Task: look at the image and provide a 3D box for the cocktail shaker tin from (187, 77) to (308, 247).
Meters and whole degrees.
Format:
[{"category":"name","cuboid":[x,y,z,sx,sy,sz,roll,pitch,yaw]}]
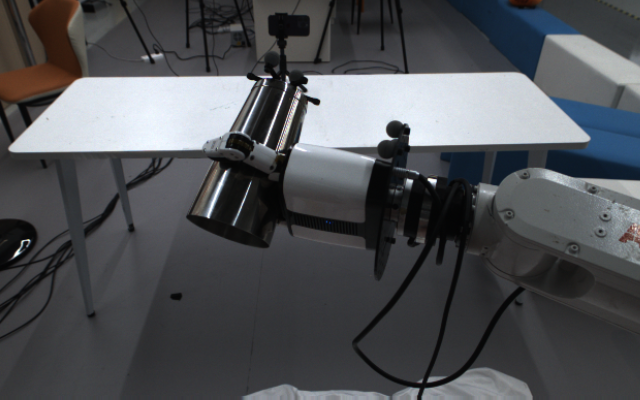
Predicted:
[{"category":"cocktail shaker tin","cuboid":[-0.070,-0.042,0.528,0.093,0.093,0.170,14,73,17]}]
